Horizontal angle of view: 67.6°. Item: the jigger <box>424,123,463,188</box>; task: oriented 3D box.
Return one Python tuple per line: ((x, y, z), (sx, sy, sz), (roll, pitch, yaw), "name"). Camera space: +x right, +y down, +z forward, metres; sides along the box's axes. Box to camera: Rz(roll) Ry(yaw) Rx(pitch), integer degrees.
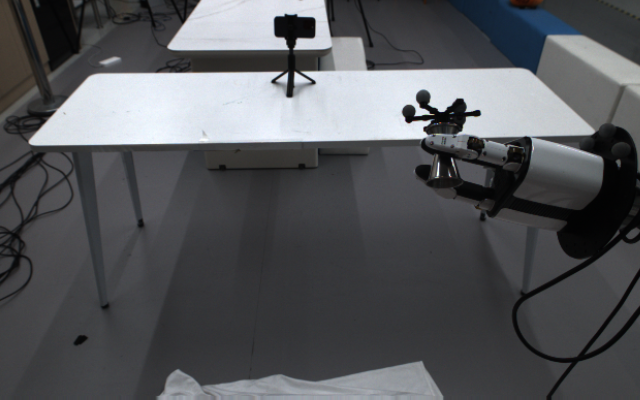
((0.145, -0.053, 0.574), (0.043, 0.043, 0.071), (3, 76, 1), "jigger")
